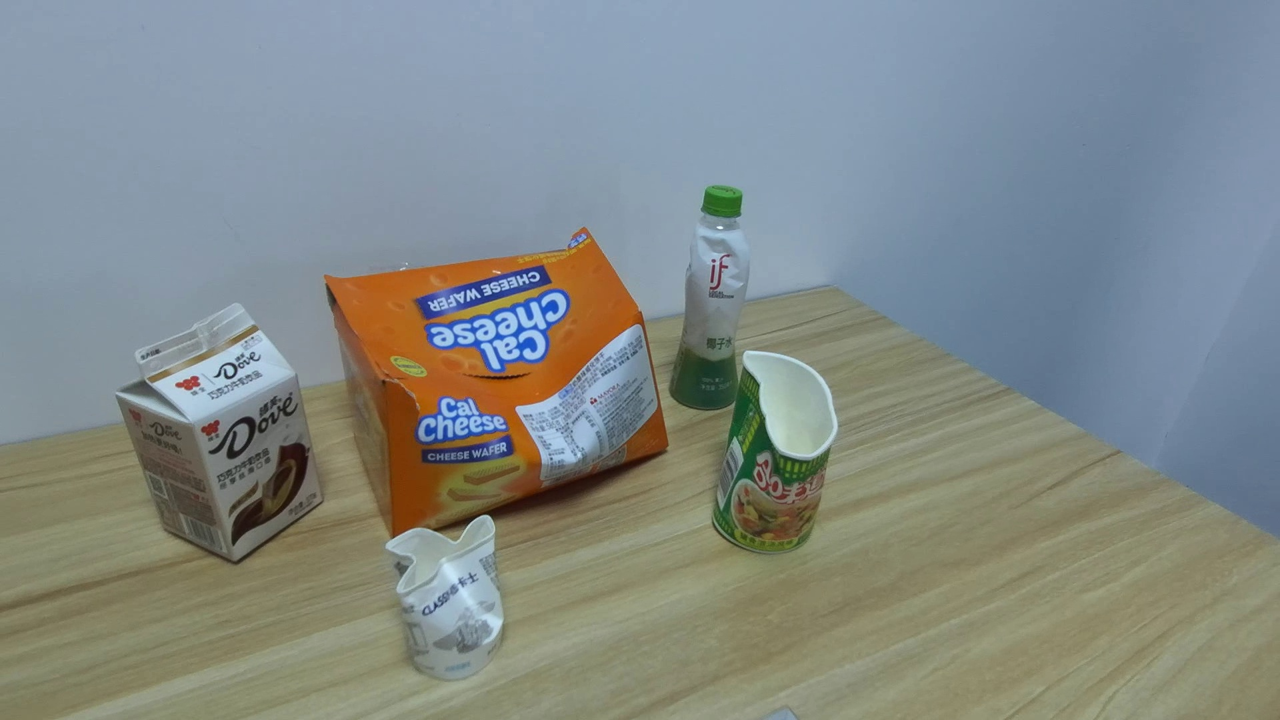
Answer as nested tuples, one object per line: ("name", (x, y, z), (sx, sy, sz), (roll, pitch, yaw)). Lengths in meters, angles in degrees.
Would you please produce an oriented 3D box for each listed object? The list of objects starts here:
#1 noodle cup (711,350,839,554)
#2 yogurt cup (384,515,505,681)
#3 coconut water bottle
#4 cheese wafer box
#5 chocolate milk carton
("noodle cup", (0.088, 0.067, 0.472), (0.070, 0.111, 0.115), (10, 30, 14))
("yogurt cup", (-0.106, 0.129, 0.390), (0.055, 0.072, 0.055), (-9, 29, -18))
("coconut water bottle", (0.062, -0.051, 0.603), (0.067, 0.187, 0.067), (3, 28, -1))
("cheese wafer box", (-0.097, 0.010, 0.532), (0.220, 0.145, 0.190), (-14, 33, -26))
("chocolate milk carton", (-0.267, 0.042, 0.452), (0.074, 0.148, 0.075), (15, 30, 22))
